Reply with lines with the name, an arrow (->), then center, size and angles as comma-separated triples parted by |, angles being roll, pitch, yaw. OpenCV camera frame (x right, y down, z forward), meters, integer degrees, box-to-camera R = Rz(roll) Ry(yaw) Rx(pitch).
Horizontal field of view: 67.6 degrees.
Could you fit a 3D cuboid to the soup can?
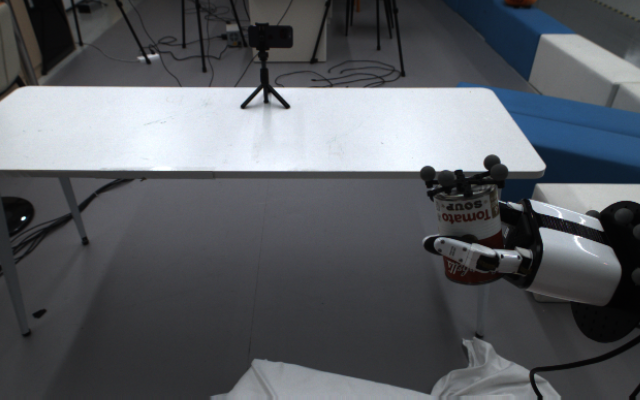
soup can -> 0.167, 0.031, 0.536 | 0.067, 0.101, 0.067 | -12, 17, 4
